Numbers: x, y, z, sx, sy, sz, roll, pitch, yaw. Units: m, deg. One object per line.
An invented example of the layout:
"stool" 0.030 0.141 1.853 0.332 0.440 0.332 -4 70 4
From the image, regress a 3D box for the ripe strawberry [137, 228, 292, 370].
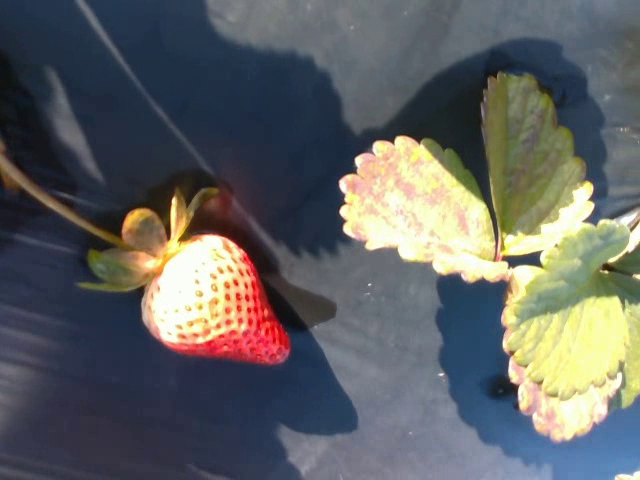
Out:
"ripe strawberry" -0.028 0.024 0.188 0.063 0.044 0.044 34 -22 -17
